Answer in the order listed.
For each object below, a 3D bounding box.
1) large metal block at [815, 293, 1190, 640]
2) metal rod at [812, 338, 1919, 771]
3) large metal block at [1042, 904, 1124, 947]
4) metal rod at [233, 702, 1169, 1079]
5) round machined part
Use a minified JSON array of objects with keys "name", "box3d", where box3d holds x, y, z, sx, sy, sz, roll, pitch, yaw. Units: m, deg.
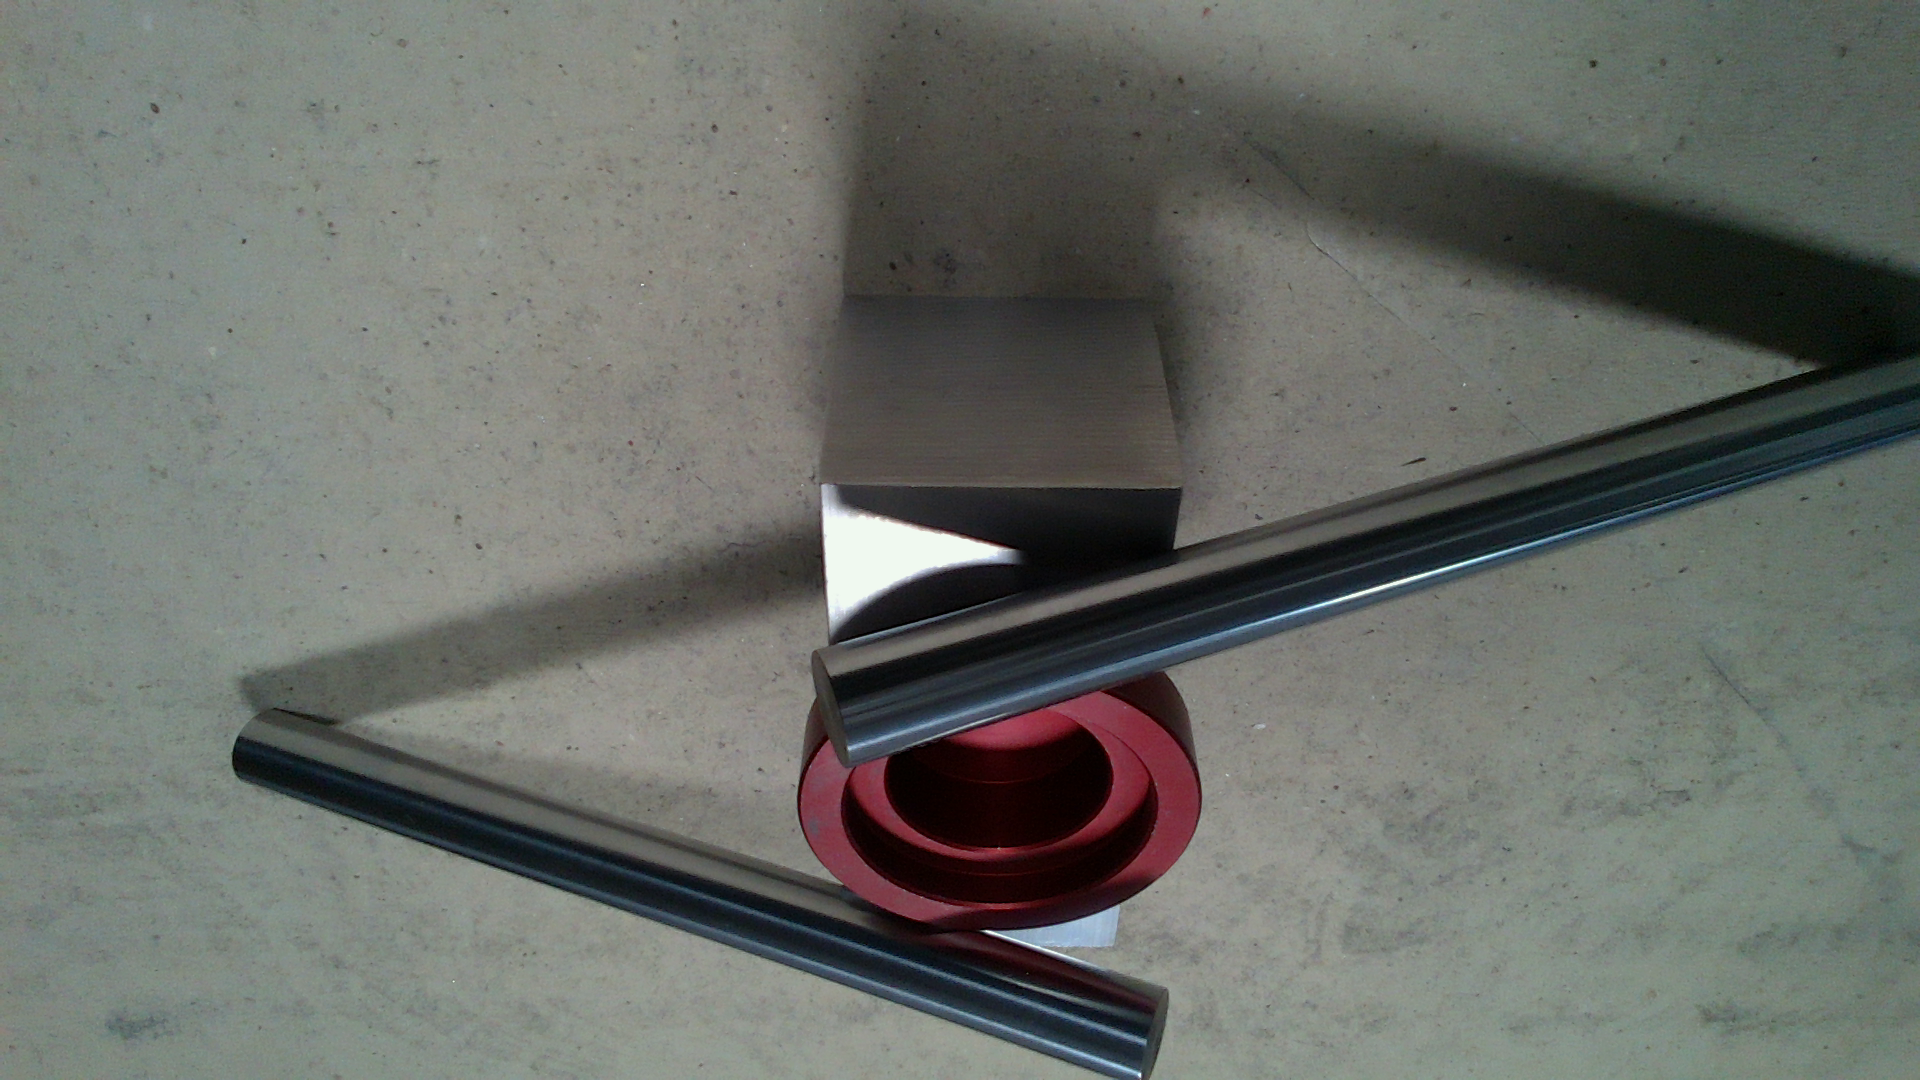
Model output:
[{"name":"large metal block","box3d":[0.009,-0.018,0.339,0.080,0.080,0.050,1,130,-1]},{"name":"metal rod","box3d":[0.113,-0.003,0.318,0.301,0.025,0.025,-15,132,-16]},{"name":"large metal block","box3d":[0.007,0.074,0.417,0.080,0.080,0.050,1,130,-1]},{"name":"metal rod","box3d":[-0.088,0.095,0.398,0.299,0.025,0.025,12,133,20]},{"name":"round machined part","box3d":[0.010,0.053,0.347,0.098,0.042,0.098,0,130,0]}]
